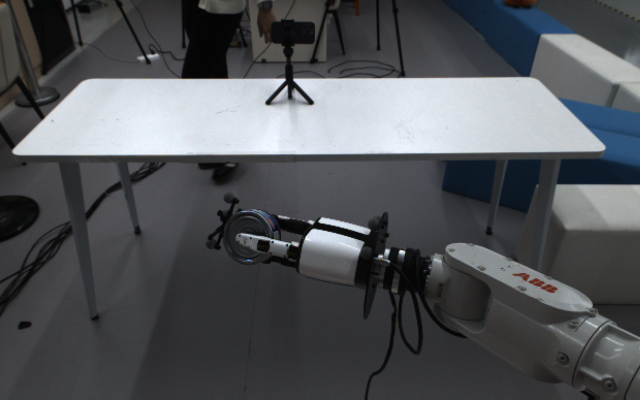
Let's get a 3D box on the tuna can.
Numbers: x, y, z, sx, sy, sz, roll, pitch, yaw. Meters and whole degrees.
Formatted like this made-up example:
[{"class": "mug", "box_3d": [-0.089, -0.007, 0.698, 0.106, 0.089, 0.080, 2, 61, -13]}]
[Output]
[{"class": "tuna can", "box_3d": [-0.105, 0.056, 0.747, 0.085, 0.085, 0.034, 12, 5, 14]}]
